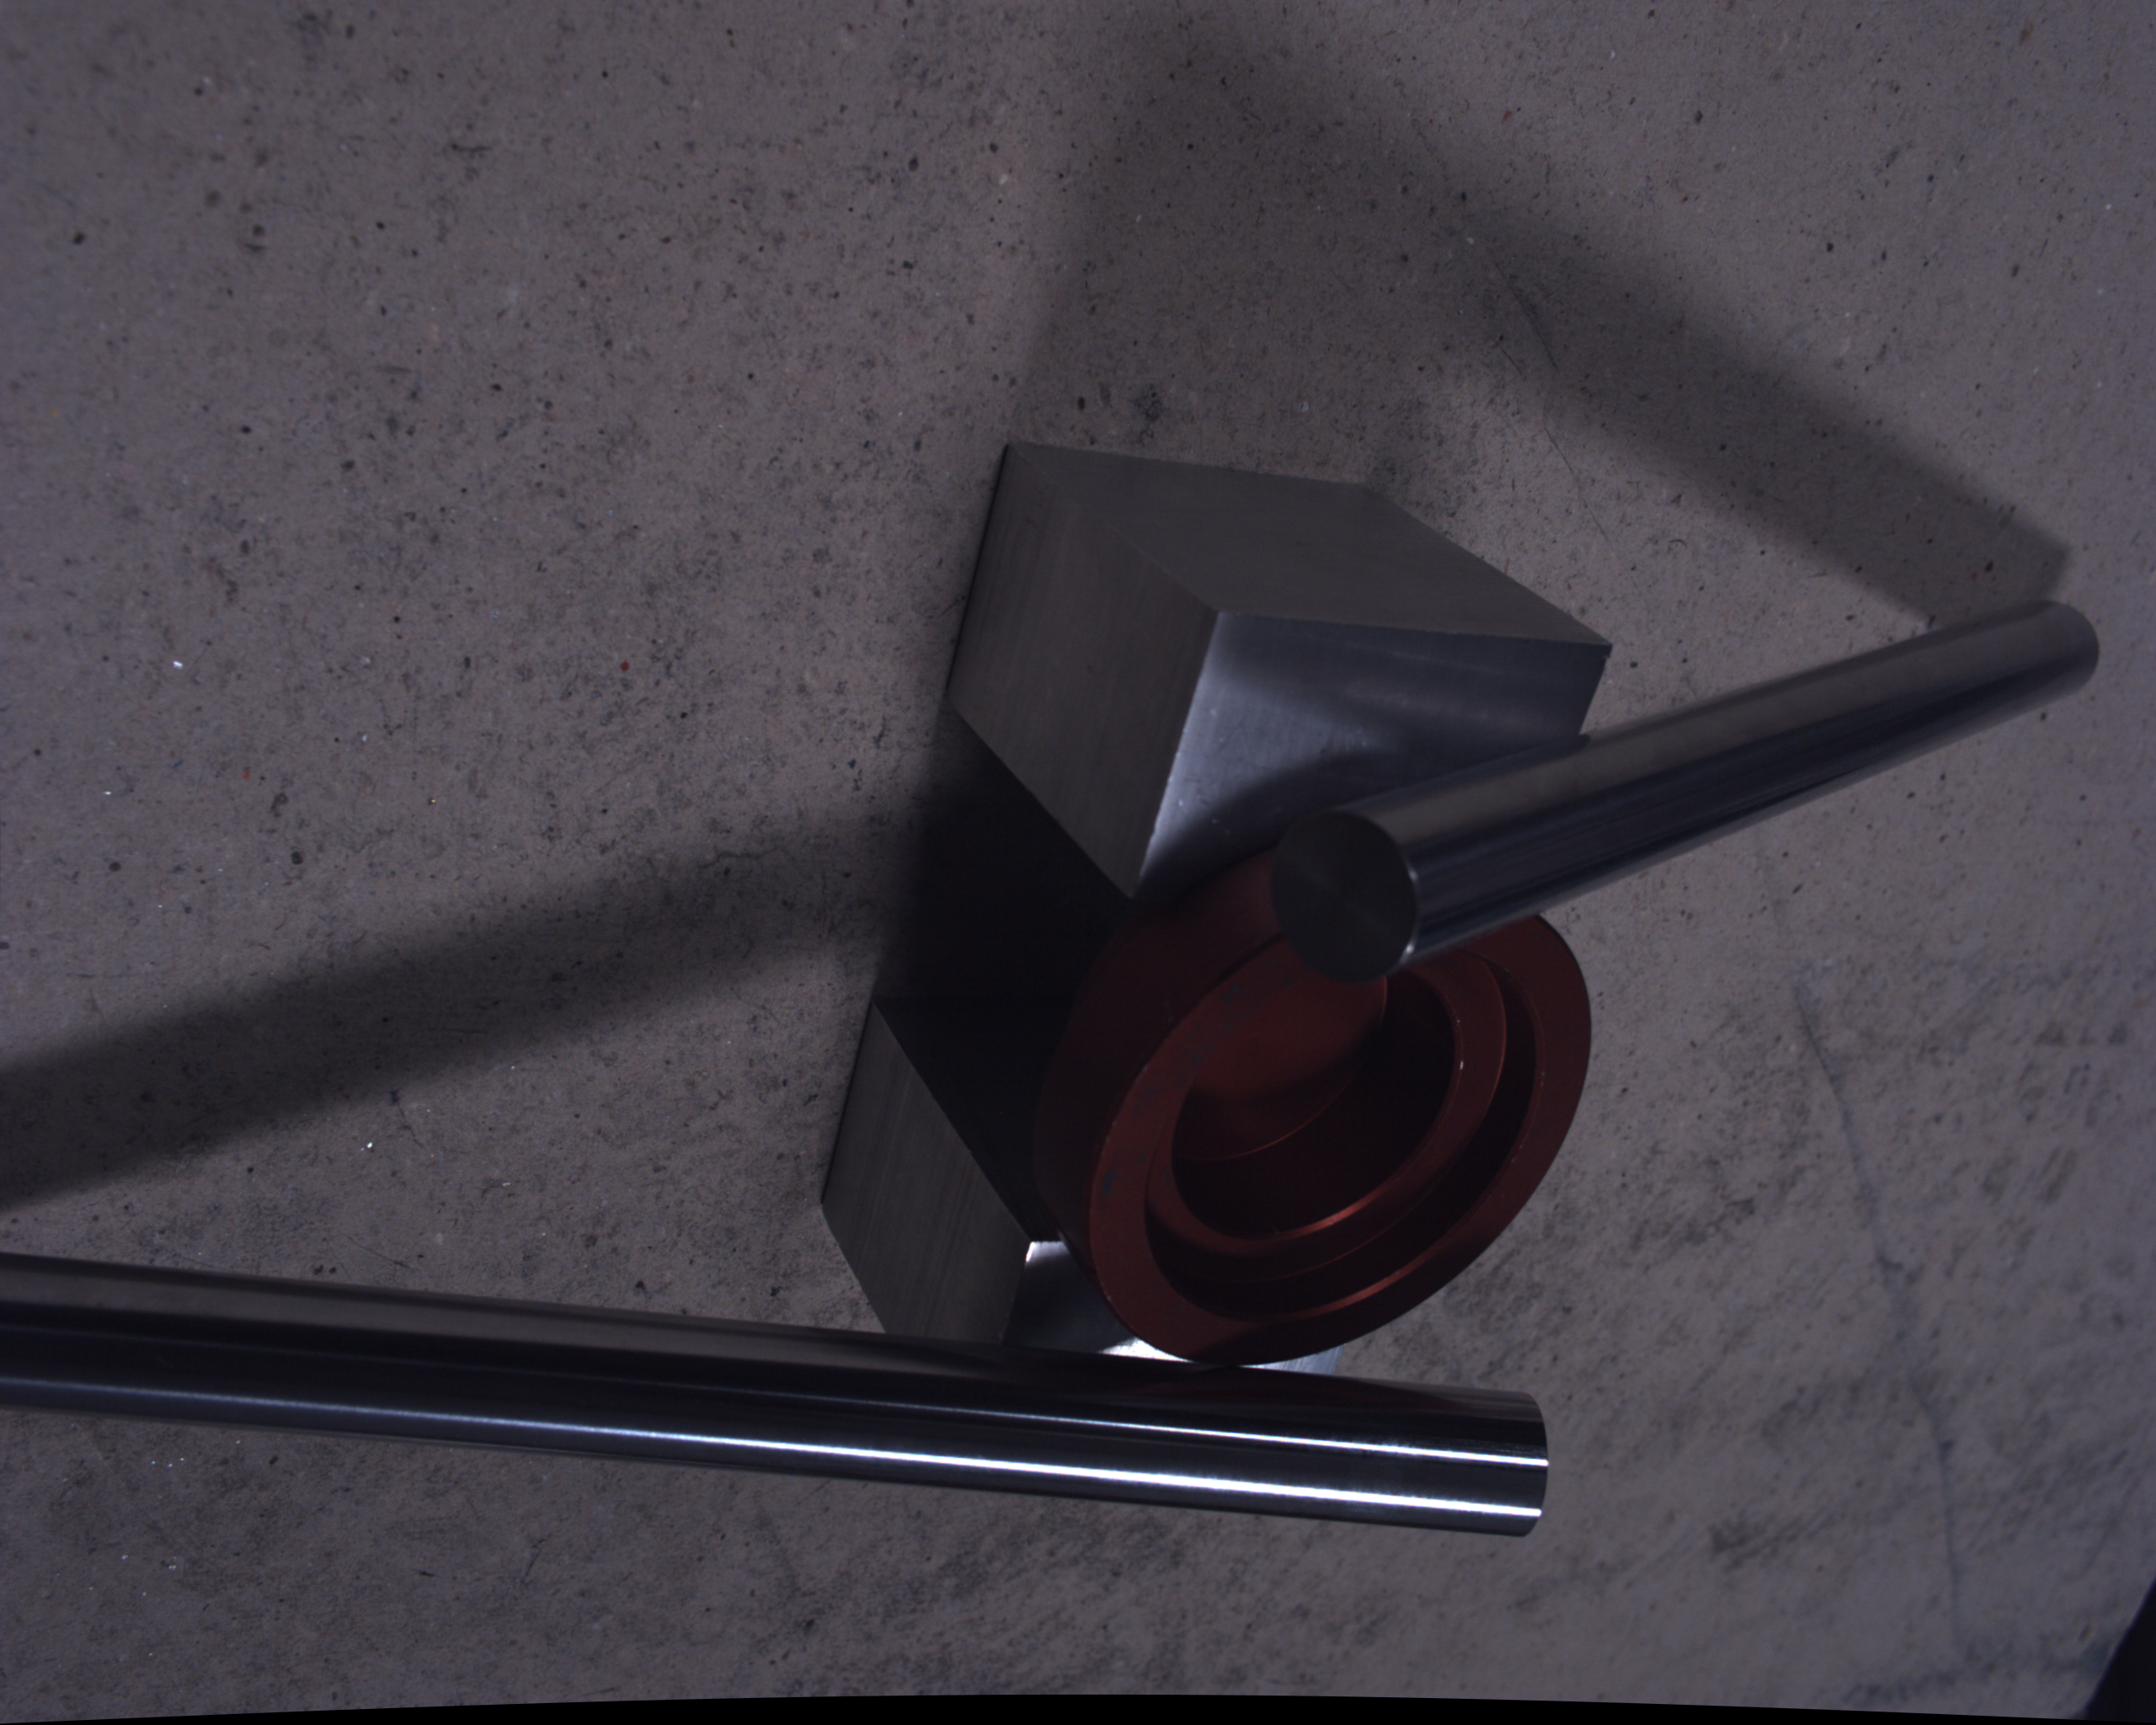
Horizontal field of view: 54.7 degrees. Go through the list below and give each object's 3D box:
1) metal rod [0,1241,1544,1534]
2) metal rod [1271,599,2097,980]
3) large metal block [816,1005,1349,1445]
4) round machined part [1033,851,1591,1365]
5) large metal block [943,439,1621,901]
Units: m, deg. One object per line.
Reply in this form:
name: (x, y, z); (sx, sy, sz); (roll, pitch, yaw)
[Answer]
metal rod: (-0.070, 0.088, 0.354); (0.302, 0.025, 0.025); (7, 117, -7)
metal rod: (0.137, -0.024, 0.401); (0.302, 0.025, 0.025); (-16, 128, -47)
large metal block: (0.003, 0.071, 0.420); (0.081, 0.080, 0.050); (1, 118, -29)
round machined part: (0.037, 0.037, 0.365); (0.099, 0.042, 0.097); (-14, 125, -21)
large metal block: (0.033, -0.034, 0.371); (0.081, 0.080, 0.050); (1, 118, -29)
